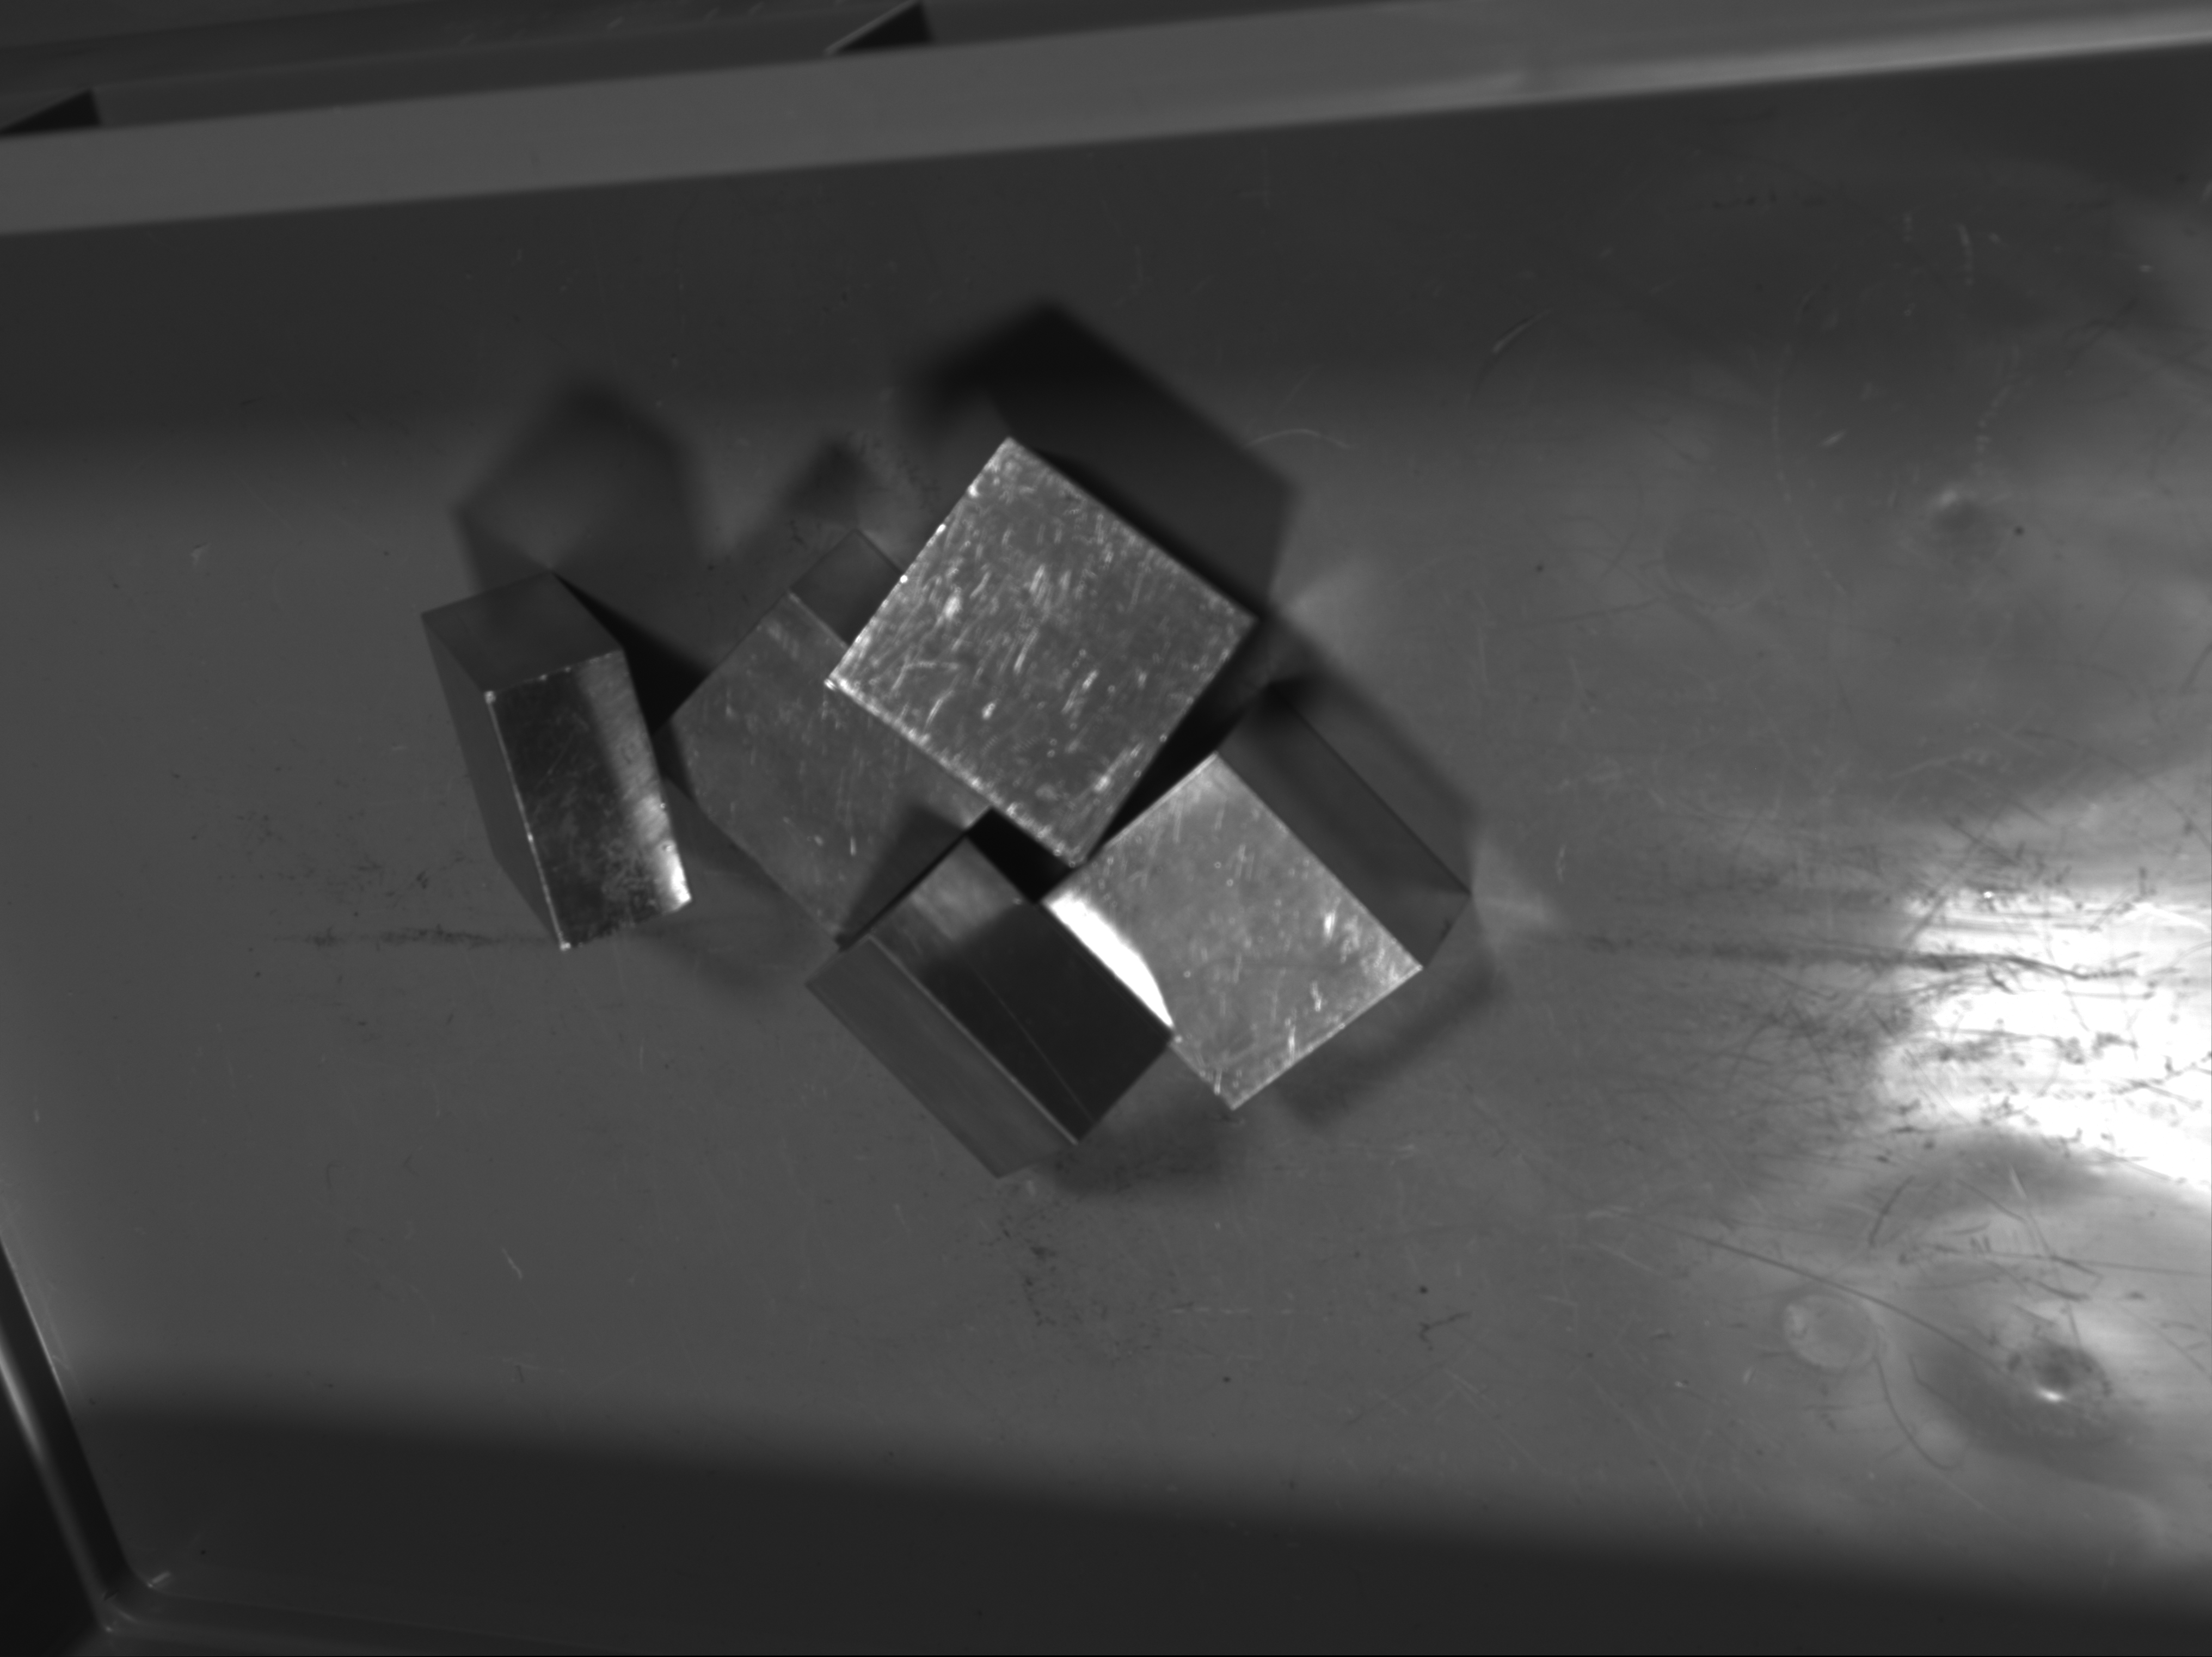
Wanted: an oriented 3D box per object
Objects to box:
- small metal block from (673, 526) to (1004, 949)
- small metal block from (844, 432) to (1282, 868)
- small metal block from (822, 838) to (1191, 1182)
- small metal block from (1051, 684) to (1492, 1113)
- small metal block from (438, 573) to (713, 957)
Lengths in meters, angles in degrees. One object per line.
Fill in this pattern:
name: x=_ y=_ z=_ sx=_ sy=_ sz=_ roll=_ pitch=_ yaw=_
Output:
small metal block: x=-0.042 y=-0.016 z=0.641 sx=0.050 sy=0.025 sz=0.050 roll=44 pitch=128 yaw=-3
small metal block: x=-0.006 y=-0.029 z=0.601 sx=0.050 sy=0.025 sz=0.050 roll=37 pitch=93 yaw=2
small metal block: x=-0.018 y=0.033 z=0.644 sx=0.050 sy=0.025 sz=0.050 roll=45 pitch=159 yaw=-4
small metal block: x=0.028 y=0.012 z=0.623 sx=0.050 sy=0.025 sz=0.050 roll=46 pitch=128 yaw=-5
small metal block: x=-0.095 y=-0.012 z=0.652 sx=0.050 sy=0.025 sz=0.050 roll=-139 pitch=32 yaw=-60
